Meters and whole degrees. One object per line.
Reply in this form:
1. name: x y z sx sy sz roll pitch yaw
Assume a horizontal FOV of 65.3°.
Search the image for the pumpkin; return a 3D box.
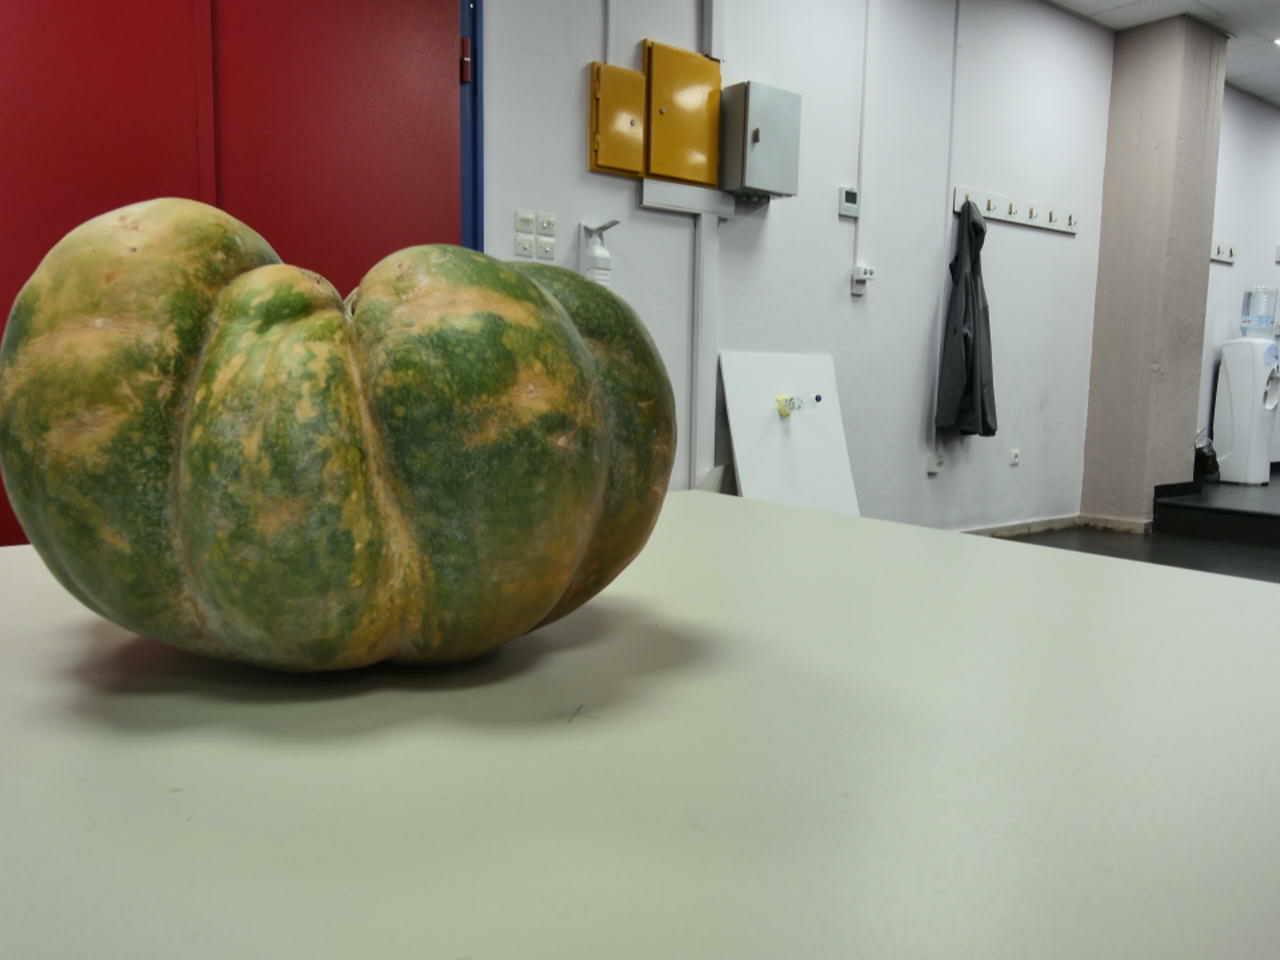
1. pumpkin: -0.122 -0.015 0.415 0.270 0.173 0.237 0 4 -2
